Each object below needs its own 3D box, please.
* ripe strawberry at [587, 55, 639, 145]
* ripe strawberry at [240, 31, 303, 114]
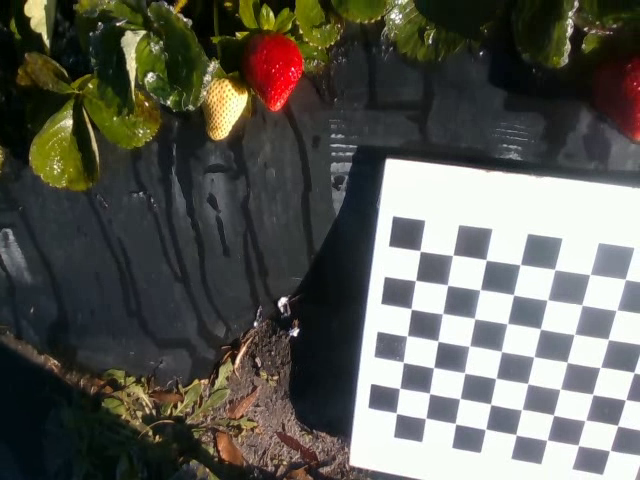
[{"bbox_3d":[0.195,-0.087,0.345,0.048,0.061,0.044,1,-14,9],"label":"ripe strawberry"},{"bbox_3d":[-0.029,-0.108,0.384,0.042,0.061,0.046,-6,-25,12],"label":"ripe strawberry"}]
